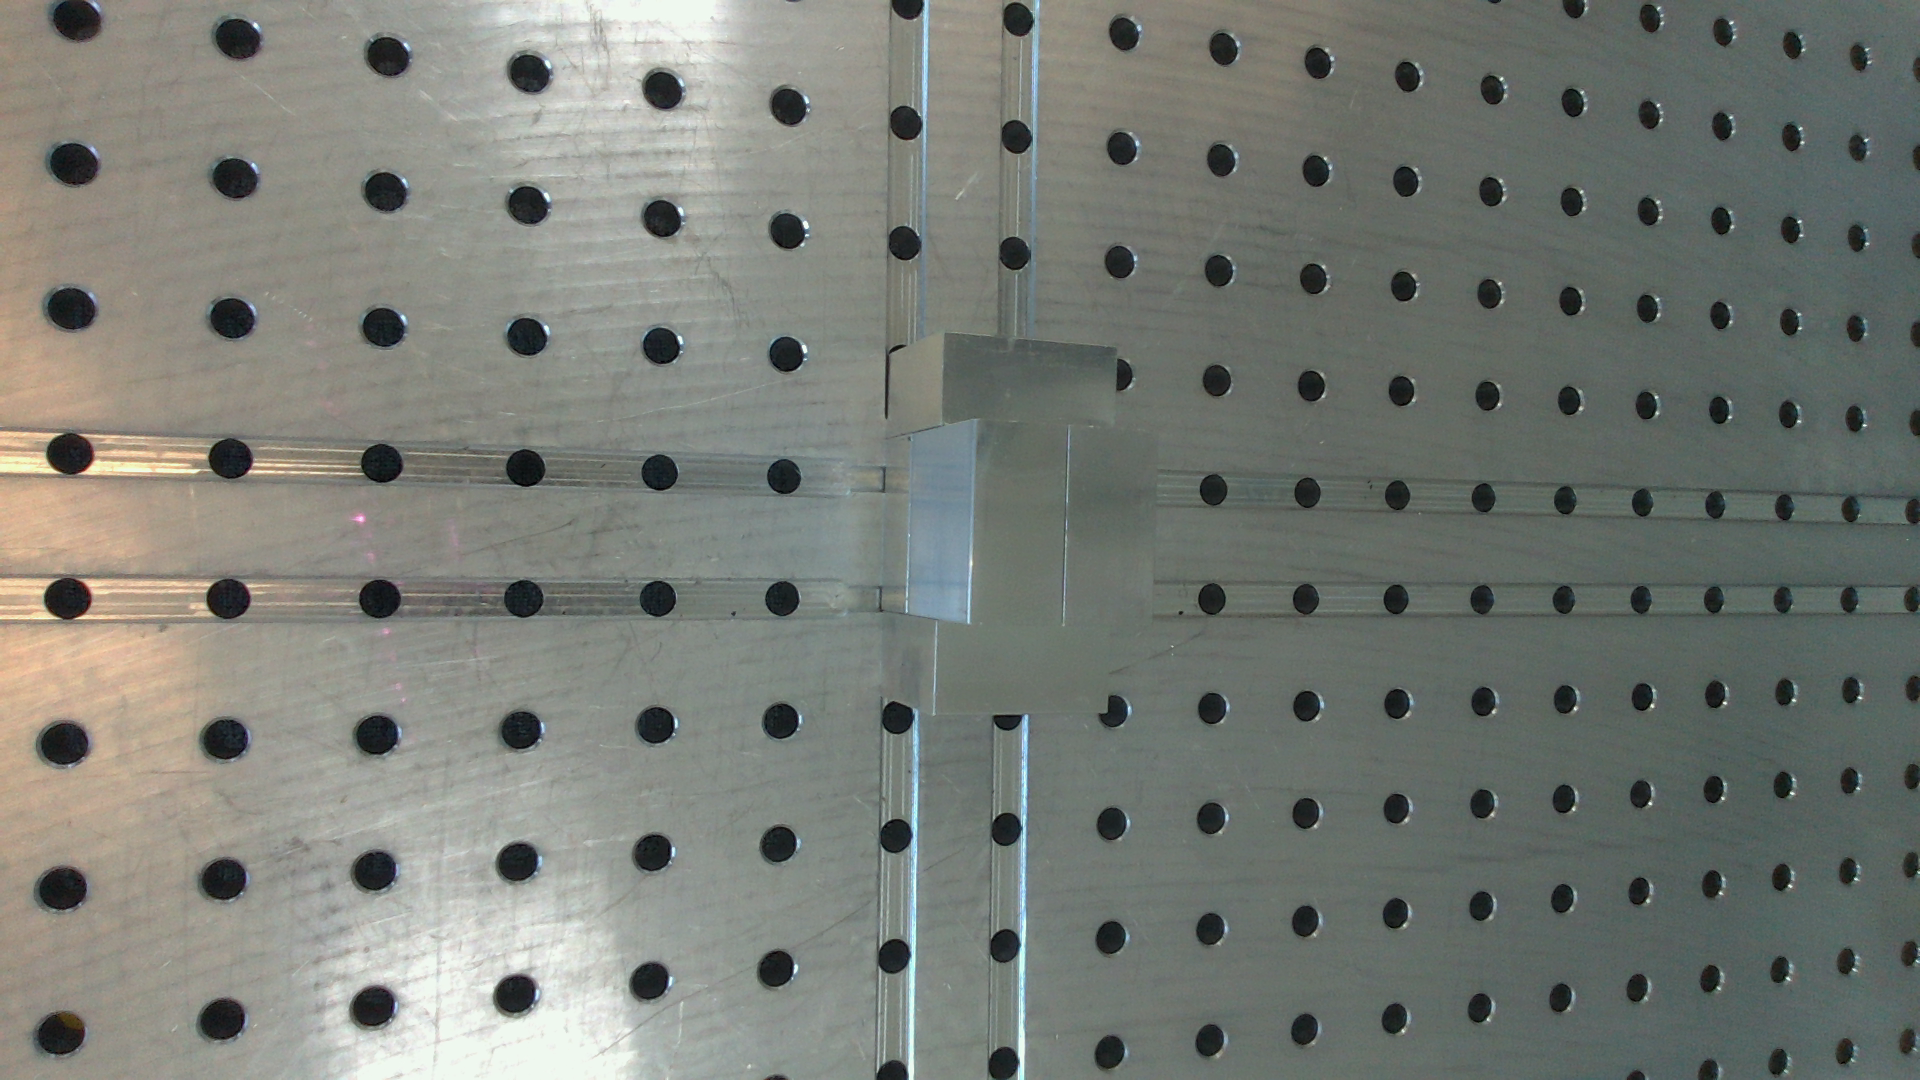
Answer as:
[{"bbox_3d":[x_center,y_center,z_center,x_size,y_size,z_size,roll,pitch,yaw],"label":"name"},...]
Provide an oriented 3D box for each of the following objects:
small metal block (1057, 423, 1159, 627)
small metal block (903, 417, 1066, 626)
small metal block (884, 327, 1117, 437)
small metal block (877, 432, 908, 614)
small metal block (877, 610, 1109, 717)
[{"bbox_3d":[0.030,-0.004,0.367,0.025,0.050,0.050,2,89,-19],"label":"small metal block"},{"bbox_3d":[0.005,-0.004,0.358,0.025,0.050,0.050,2,89,-20],"label":"small metal block"},{"bbox_3d":[0.010,-0.041,0.385,0.050,0.050,0.025,2,90,-20],"label":"small metal block"},{"bbox_3d":[0.004,-0.004,0.397,0.050,0.025,0.050,2,90,-19],"label":"small metal block"},{"bbox_3d":[0.008,0.034,0.385,0.050,0.050,0.025,2,89,-20],"label":"small metal block"}]
